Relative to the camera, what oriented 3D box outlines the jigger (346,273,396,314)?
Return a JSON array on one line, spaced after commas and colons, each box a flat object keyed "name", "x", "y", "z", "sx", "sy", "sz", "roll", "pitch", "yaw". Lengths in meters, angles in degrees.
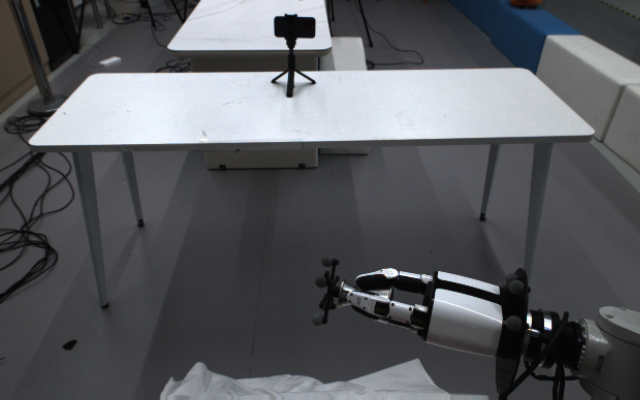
[{"name": "jigger", "x": 0.069, "y": 0.129, "z": 0.655, "sx": 0.071, "sy": 0.043, "sz": 0.043, "roll": 7, "pitch": 35, "yaw": 15}]
